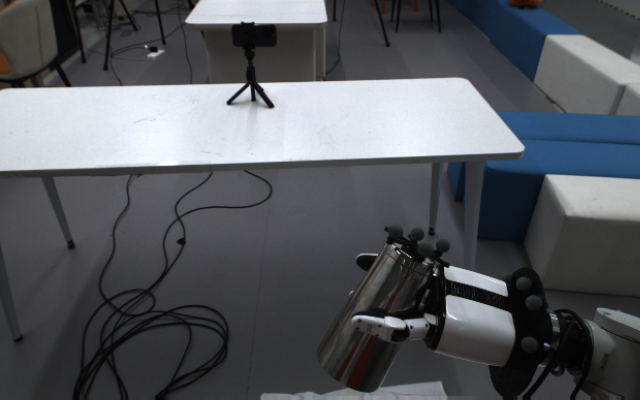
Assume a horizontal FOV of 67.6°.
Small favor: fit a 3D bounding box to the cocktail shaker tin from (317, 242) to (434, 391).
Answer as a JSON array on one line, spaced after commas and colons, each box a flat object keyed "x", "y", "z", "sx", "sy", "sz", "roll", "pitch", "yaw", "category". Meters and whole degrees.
[{"x": 0.076, "y": 0.135, "z": 0.595, "sx": 0.093, "sy": 0.170, "sz": 0.093, "roll": 23, "pitch": 12, "yaw": -5, "category": "cocktail shaker tin"}]
